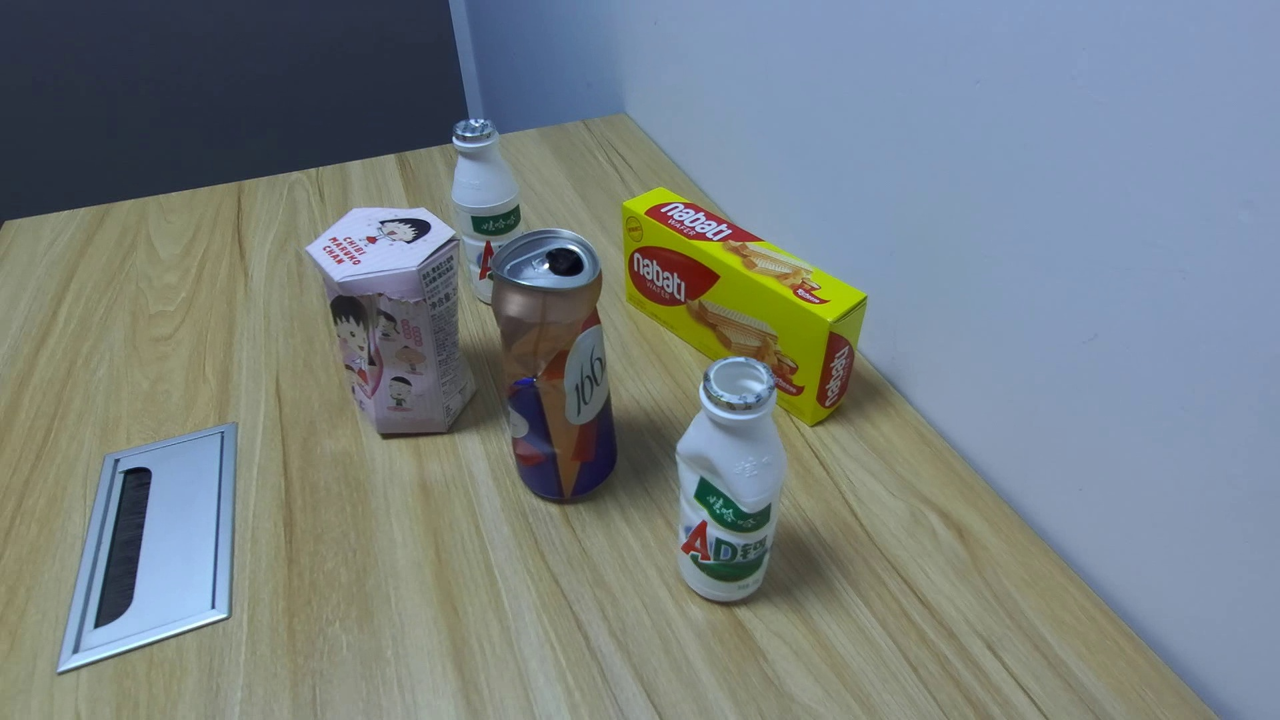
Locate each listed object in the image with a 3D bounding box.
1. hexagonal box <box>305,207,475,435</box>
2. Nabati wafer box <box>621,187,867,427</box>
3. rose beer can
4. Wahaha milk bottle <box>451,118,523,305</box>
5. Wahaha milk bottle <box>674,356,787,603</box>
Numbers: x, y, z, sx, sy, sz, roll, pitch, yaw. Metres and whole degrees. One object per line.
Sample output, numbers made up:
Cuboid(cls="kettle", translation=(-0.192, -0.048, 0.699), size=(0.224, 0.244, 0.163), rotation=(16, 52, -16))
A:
Cuboid(cls="hexagonal box", translation=(-0.157, -0.025, 0.470), size=(0.090, 0.134, 0.091), rotation=(1, 40, -2))
Cuboid(cls="Nabati wafer box", translation=(0.065, -0.044, 0.512), size=(0.042, 0.093, 0.202), rotation=(-29, 48, -30))
Cuboid(cls="rose beer can", translation=(-0.049, 0.009, 0.408), size=(0.068, 0.162, 0.073), rotation=(-17, 45, -17))
Cuboid(cls="Wahaha milk bottle", translation=(-0.119, -0.118, 0.563), size=(0.053, 0.147, 0.053), rotation=(1, 48, -1))
Cuboid(cls="Wahaha milk bottle", translation=(0.044, 0.063, 0.352), size=(0.056, 0.148, 0.056), rotation=(-1, 43, 1))
